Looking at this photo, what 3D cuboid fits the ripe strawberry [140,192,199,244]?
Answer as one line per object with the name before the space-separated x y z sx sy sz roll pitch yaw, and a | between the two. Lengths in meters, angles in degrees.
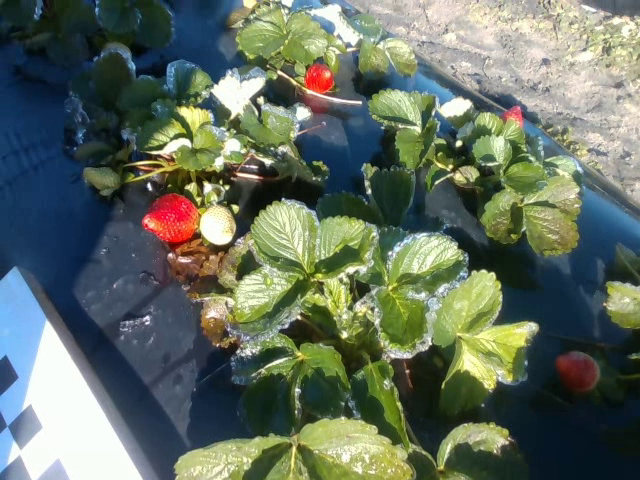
ripe strawberry | -0.112 -0.014 0.448 0.040 0.042 0.053 6 9 20
